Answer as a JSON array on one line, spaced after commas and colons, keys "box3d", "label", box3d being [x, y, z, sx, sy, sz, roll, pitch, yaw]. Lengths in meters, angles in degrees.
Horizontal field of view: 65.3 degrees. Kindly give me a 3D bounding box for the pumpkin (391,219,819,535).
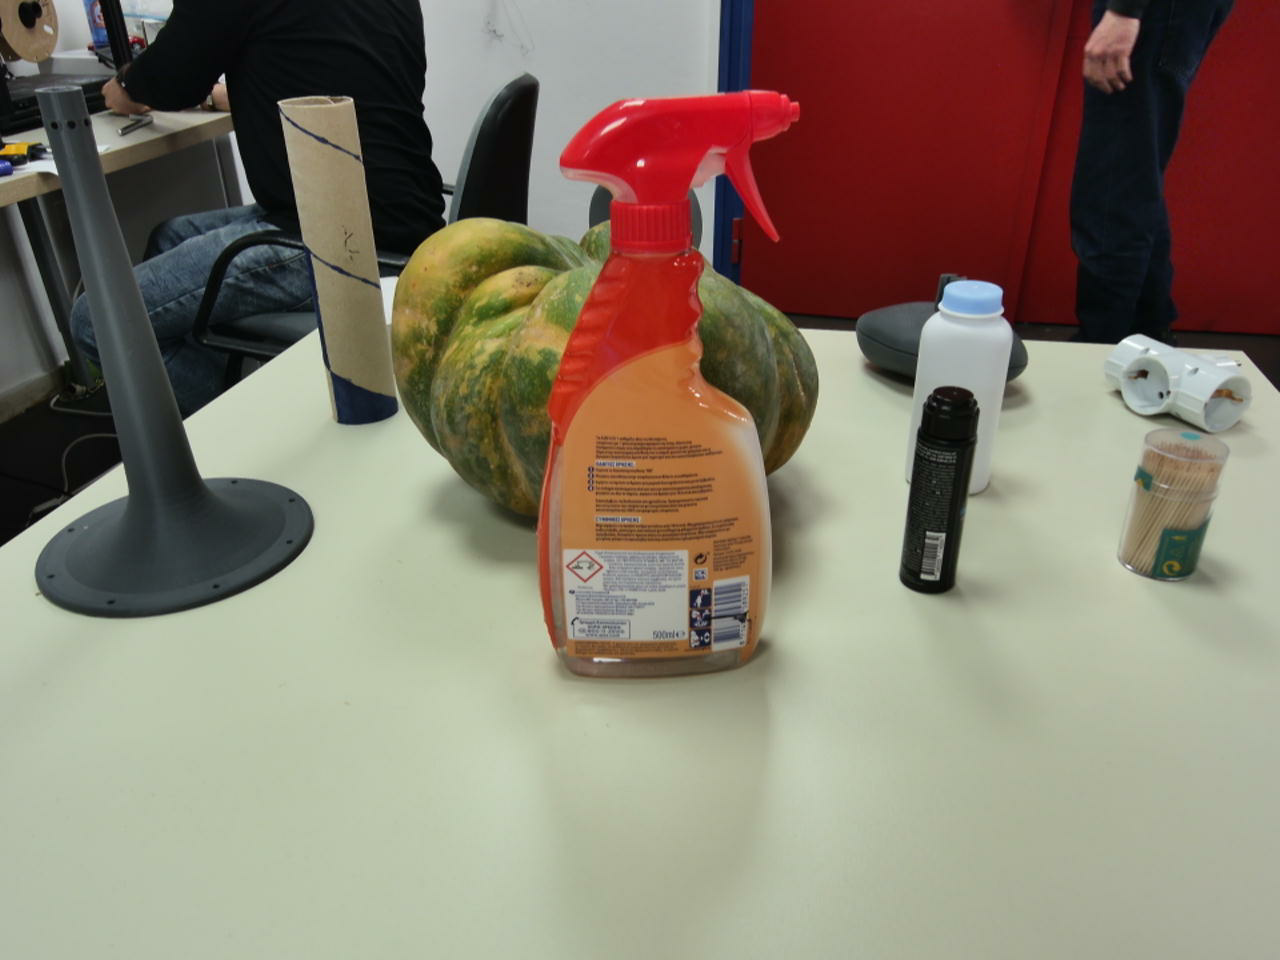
[{"box3d": [-0.021, -0.073, 0.614, 0.237, 0.173, 0.270, -21, 33, -36], "label": "pumpkin"}]
